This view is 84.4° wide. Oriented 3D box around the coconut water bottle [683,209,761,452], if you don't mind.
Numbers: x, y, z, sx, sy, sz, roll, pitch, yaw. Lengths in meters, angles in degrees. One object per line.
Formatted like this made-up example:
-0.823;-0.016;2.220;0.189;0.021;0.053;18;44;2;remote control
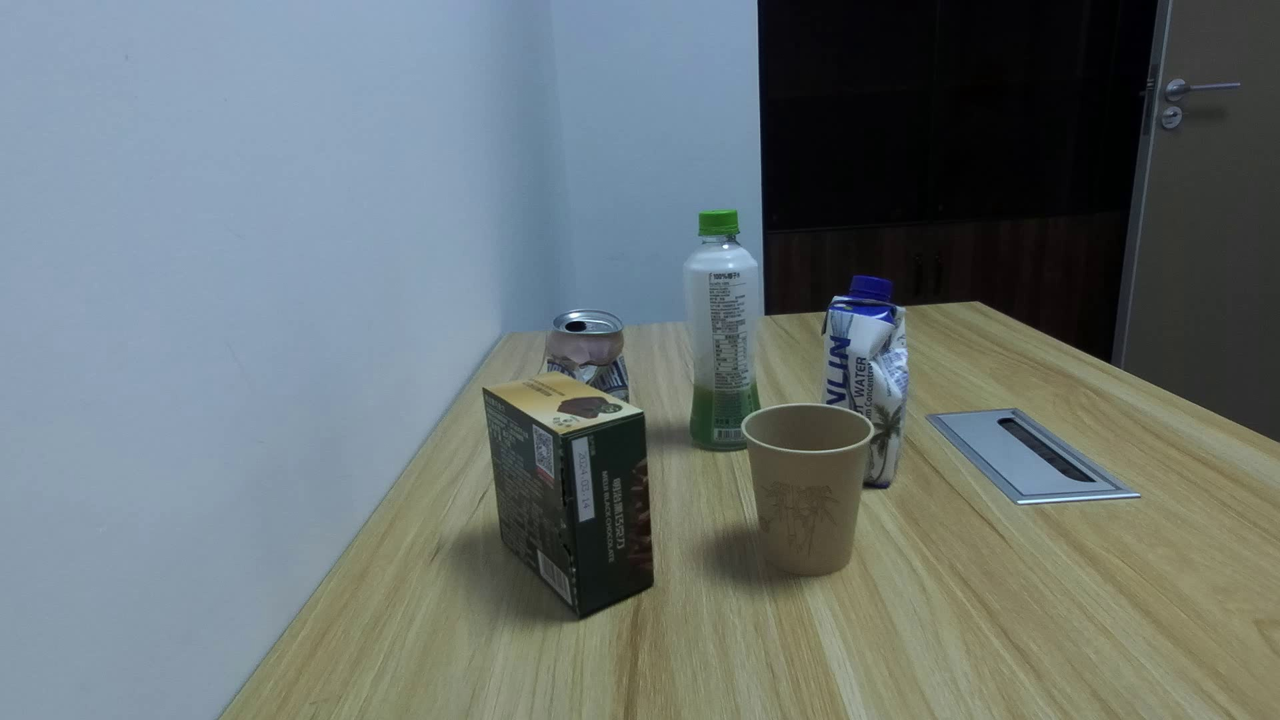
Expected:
0.069;-0.024;0.575;0.063;0.188;0.063;-4;14;1;coconut water bottle

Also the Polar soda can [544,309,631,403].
-0.039;0.027;0.563;0.067;0.121;0.071;-2;16;-11;Polar soda can

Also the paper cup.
0.097;0.076;0.415;0.075;0.082;0.075;-4;17;2;paper cup

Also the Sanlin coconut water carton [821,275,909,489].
0.160;0.015;0.506;0.060;0.143;0.070;5;16;25;Sanlin coconut water carton

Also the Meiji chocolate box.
-0.044;0.073;0.422;0.056;0.109;0.109;-14;19;-30;Meiji chocolate box
